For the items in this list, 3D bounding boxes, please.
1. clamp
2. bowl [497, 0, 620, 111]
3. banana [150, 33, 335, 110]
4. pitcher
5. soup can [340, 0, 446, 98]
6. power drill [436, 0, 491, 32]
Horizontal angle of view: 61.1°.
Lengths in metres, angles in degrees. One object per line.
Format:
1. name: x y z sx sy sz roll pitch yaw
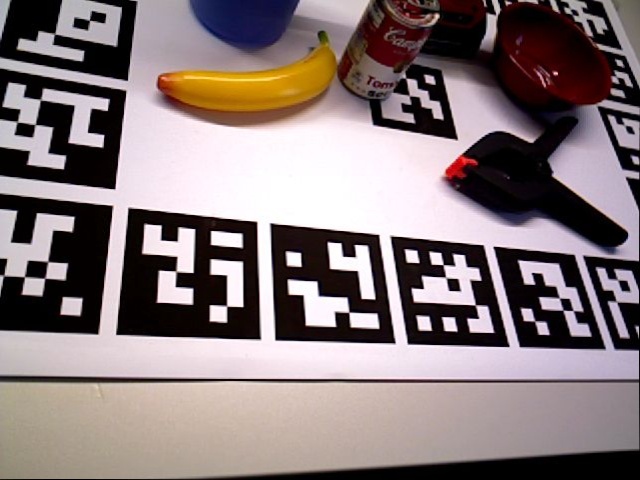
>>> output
1. clamp: 0.225 -0.070 0.554 0.200 0.037 0.164 2 67 -21
2. bowl: 0.266 -0.207 0.638 0.160 0.056 0.160 9 63 -17
3. banana: -0.055 -0.151 0.494 0.193 0.040 0.074 -21 65 -31
4. pitcher: -0.026 -0.298 0.455 0.185 0.248 0.133 -20 69 -30
5. soup can: 0.067 -0.201 0.528 0.067 0.104 0.067 11 52 -15
6. power drill: 0.188 -0.307 0.556 0.182 0.191 0.057 0 63 -23
